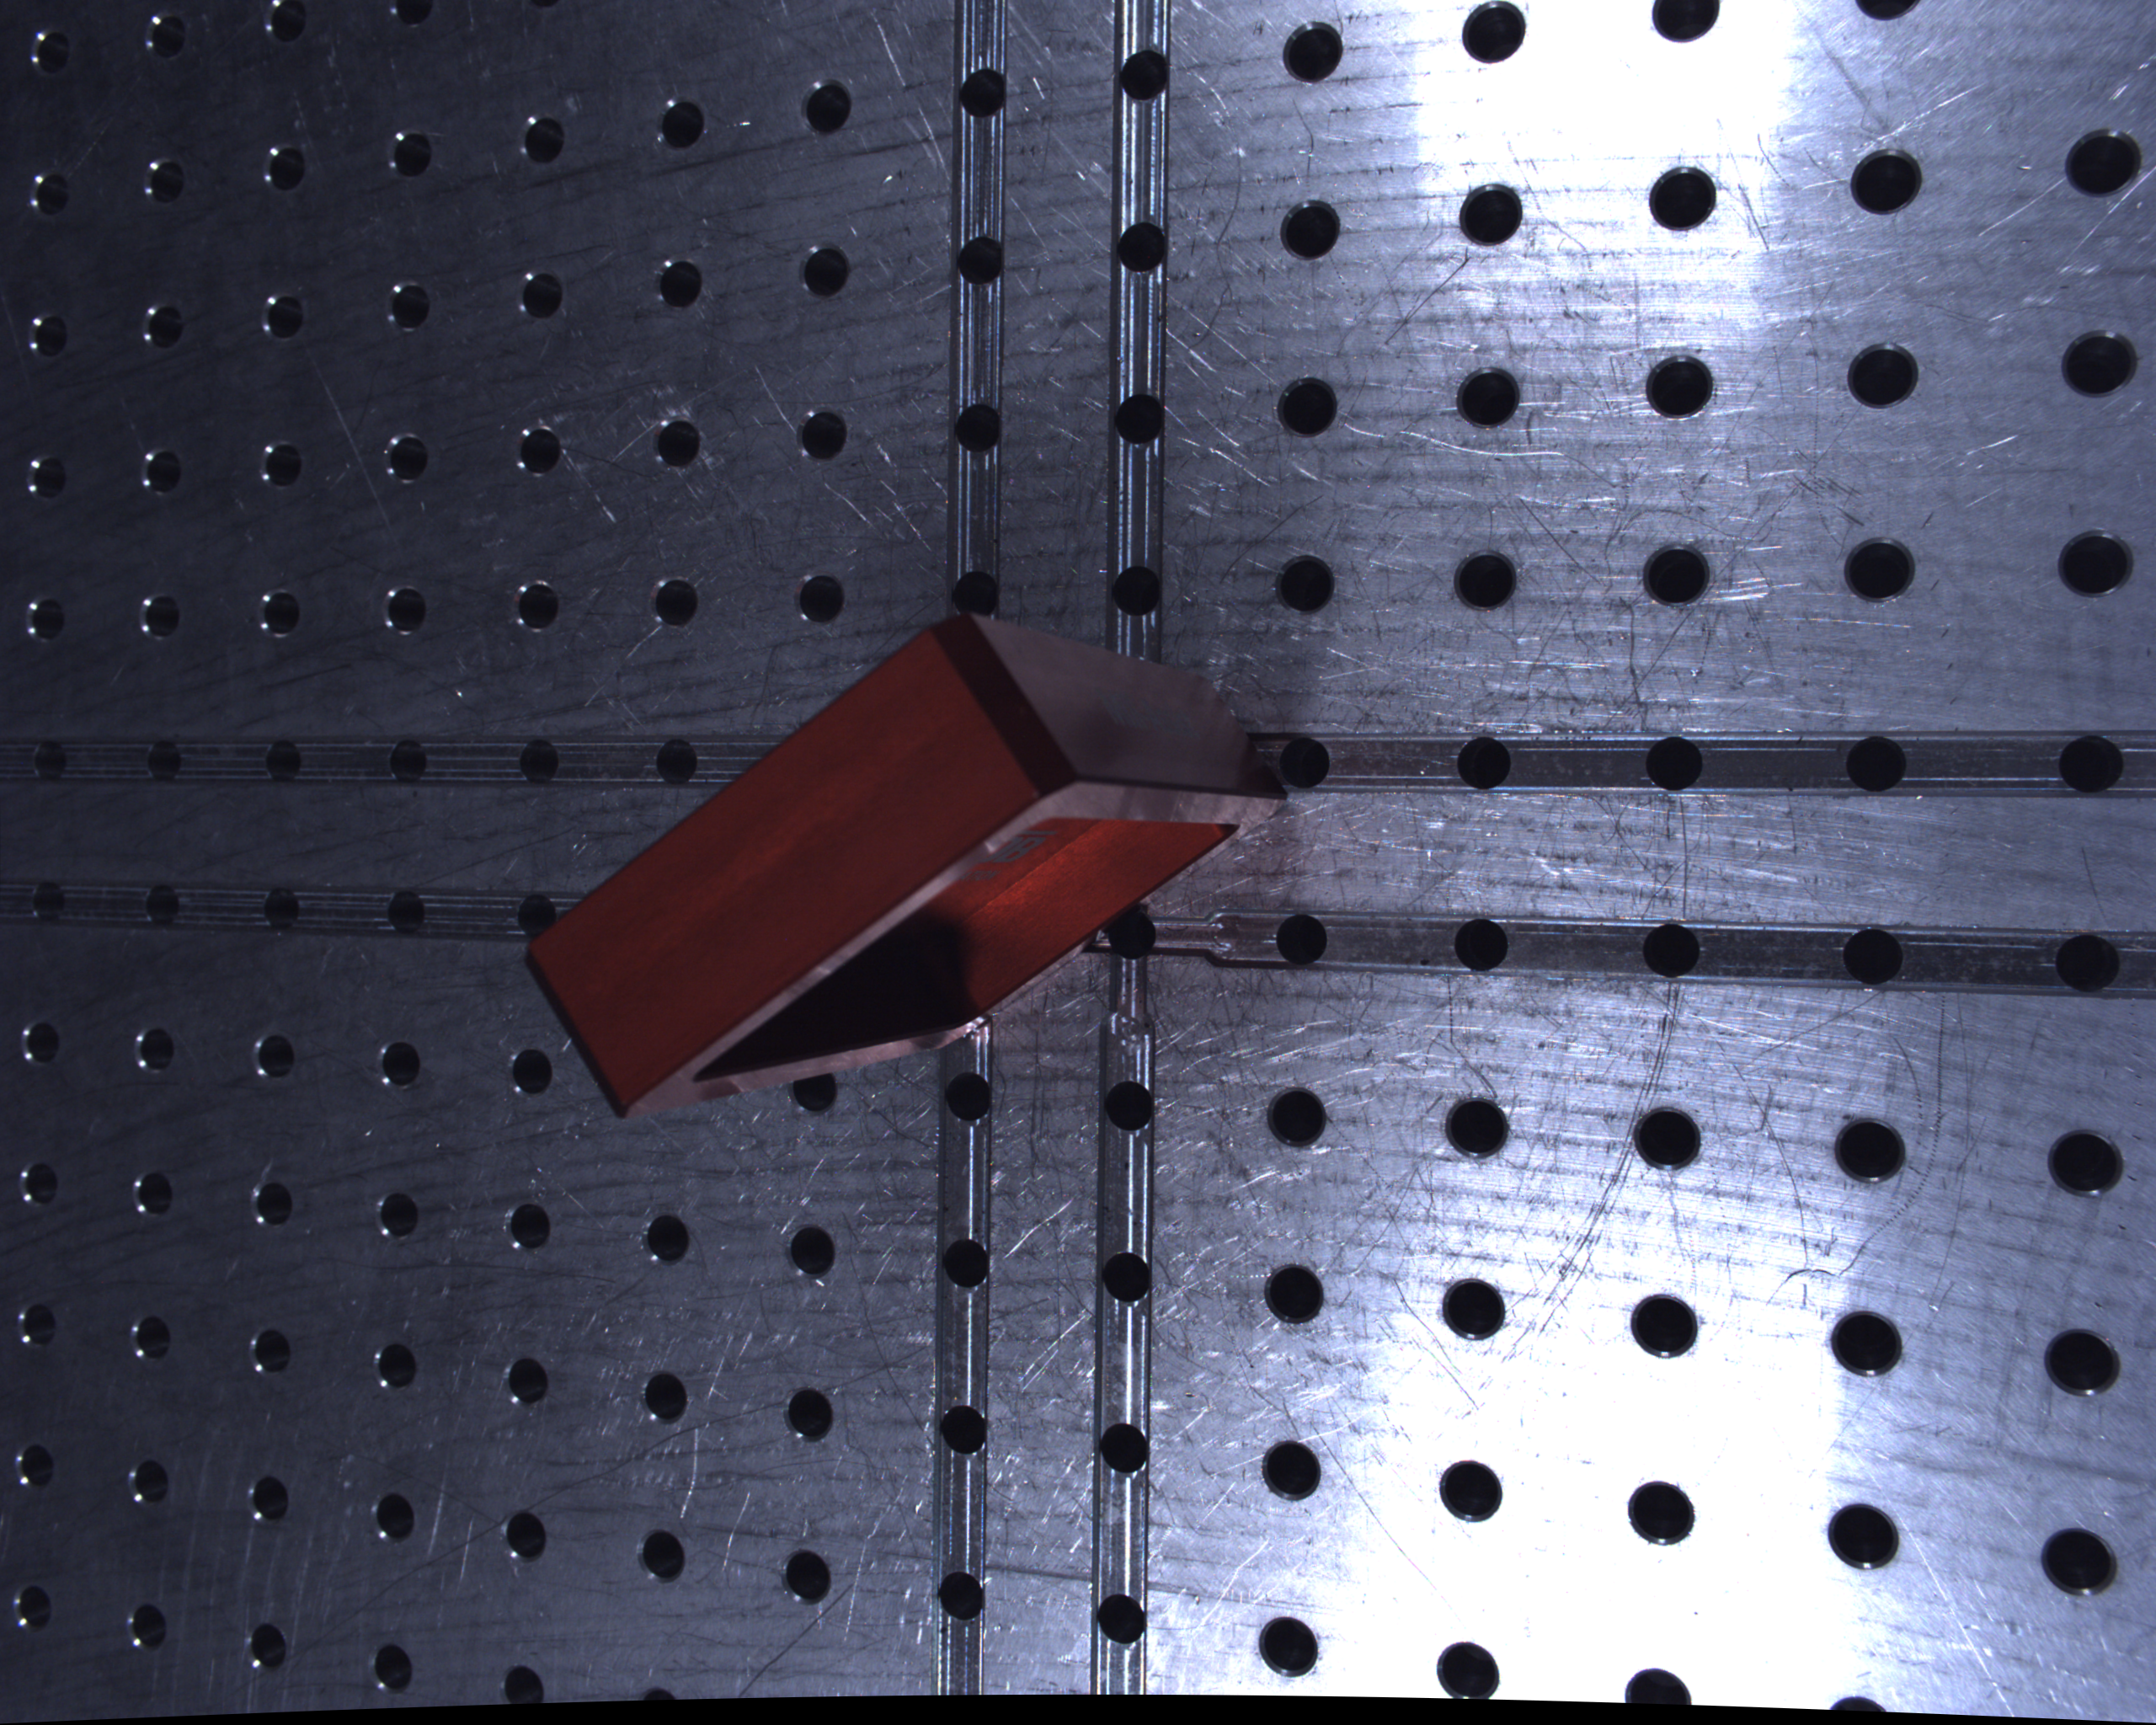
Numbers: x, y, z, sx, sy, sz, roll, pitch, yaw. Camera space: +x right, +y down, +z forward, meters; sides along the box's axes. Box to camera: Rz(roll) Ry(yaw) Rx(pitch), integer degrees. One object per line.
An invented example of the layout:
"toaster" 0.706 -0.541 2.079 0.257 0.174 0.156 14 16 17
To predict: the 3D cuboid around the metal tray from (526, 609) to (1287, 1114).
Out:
"metal tray" -0.022 0.001 0.364 0.090 0.130 0.030 -36 78 16
